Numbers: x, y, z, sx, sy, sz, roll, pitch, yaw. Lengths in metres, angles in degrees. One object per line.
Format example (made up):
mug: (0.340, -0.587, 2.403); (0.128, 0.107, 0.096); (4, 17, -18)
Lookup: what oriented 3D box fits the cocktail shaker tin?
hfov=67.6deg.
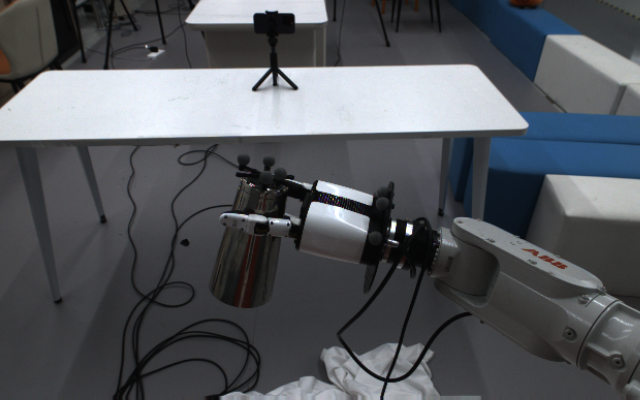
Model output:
cocktail shaker tin: (-0.094, 0.053, 0.678); (0.093, 0.170, 0.093); (13, 19, -5)
